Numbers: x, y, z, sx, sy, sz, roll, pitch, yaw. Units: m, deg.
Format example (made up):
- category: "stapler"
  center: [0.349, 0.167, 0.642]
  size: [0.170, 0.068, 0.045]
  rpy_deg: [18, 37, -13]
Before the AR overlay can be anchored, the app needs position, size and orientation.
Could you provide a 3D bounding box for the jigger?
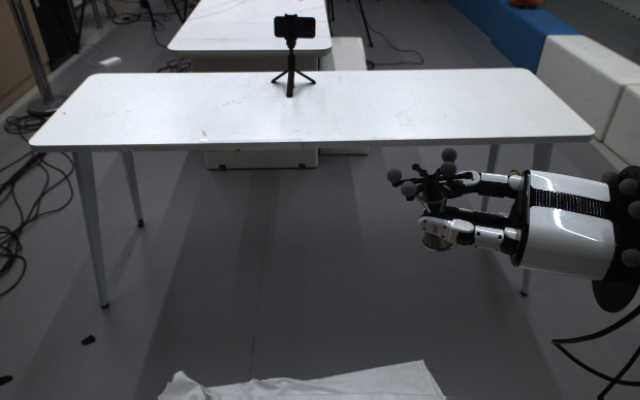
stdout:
- category: "jigger"
  center: [0.138, 0.020, 0.570]
  size: [0.043, 0.071, 0.043]
  rpy_deg: [-12, 29, 7]
